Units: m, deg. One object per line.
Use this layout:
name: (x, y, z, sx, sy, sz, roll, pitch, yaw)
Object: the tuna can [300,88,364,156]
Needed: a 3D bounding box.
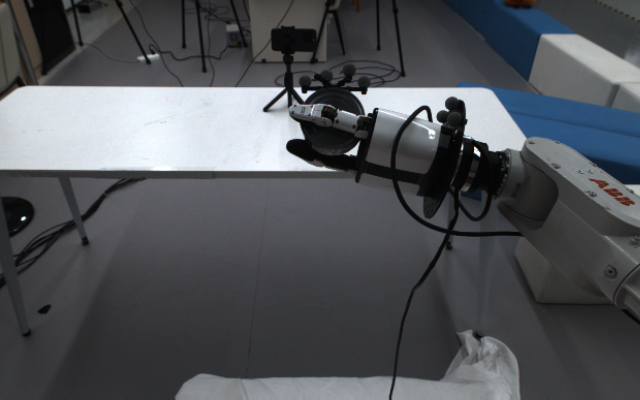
tuna can: (0.017, -0.104, 0.643, 0.085, 0.034, 0.085, -1, 76, 4)
